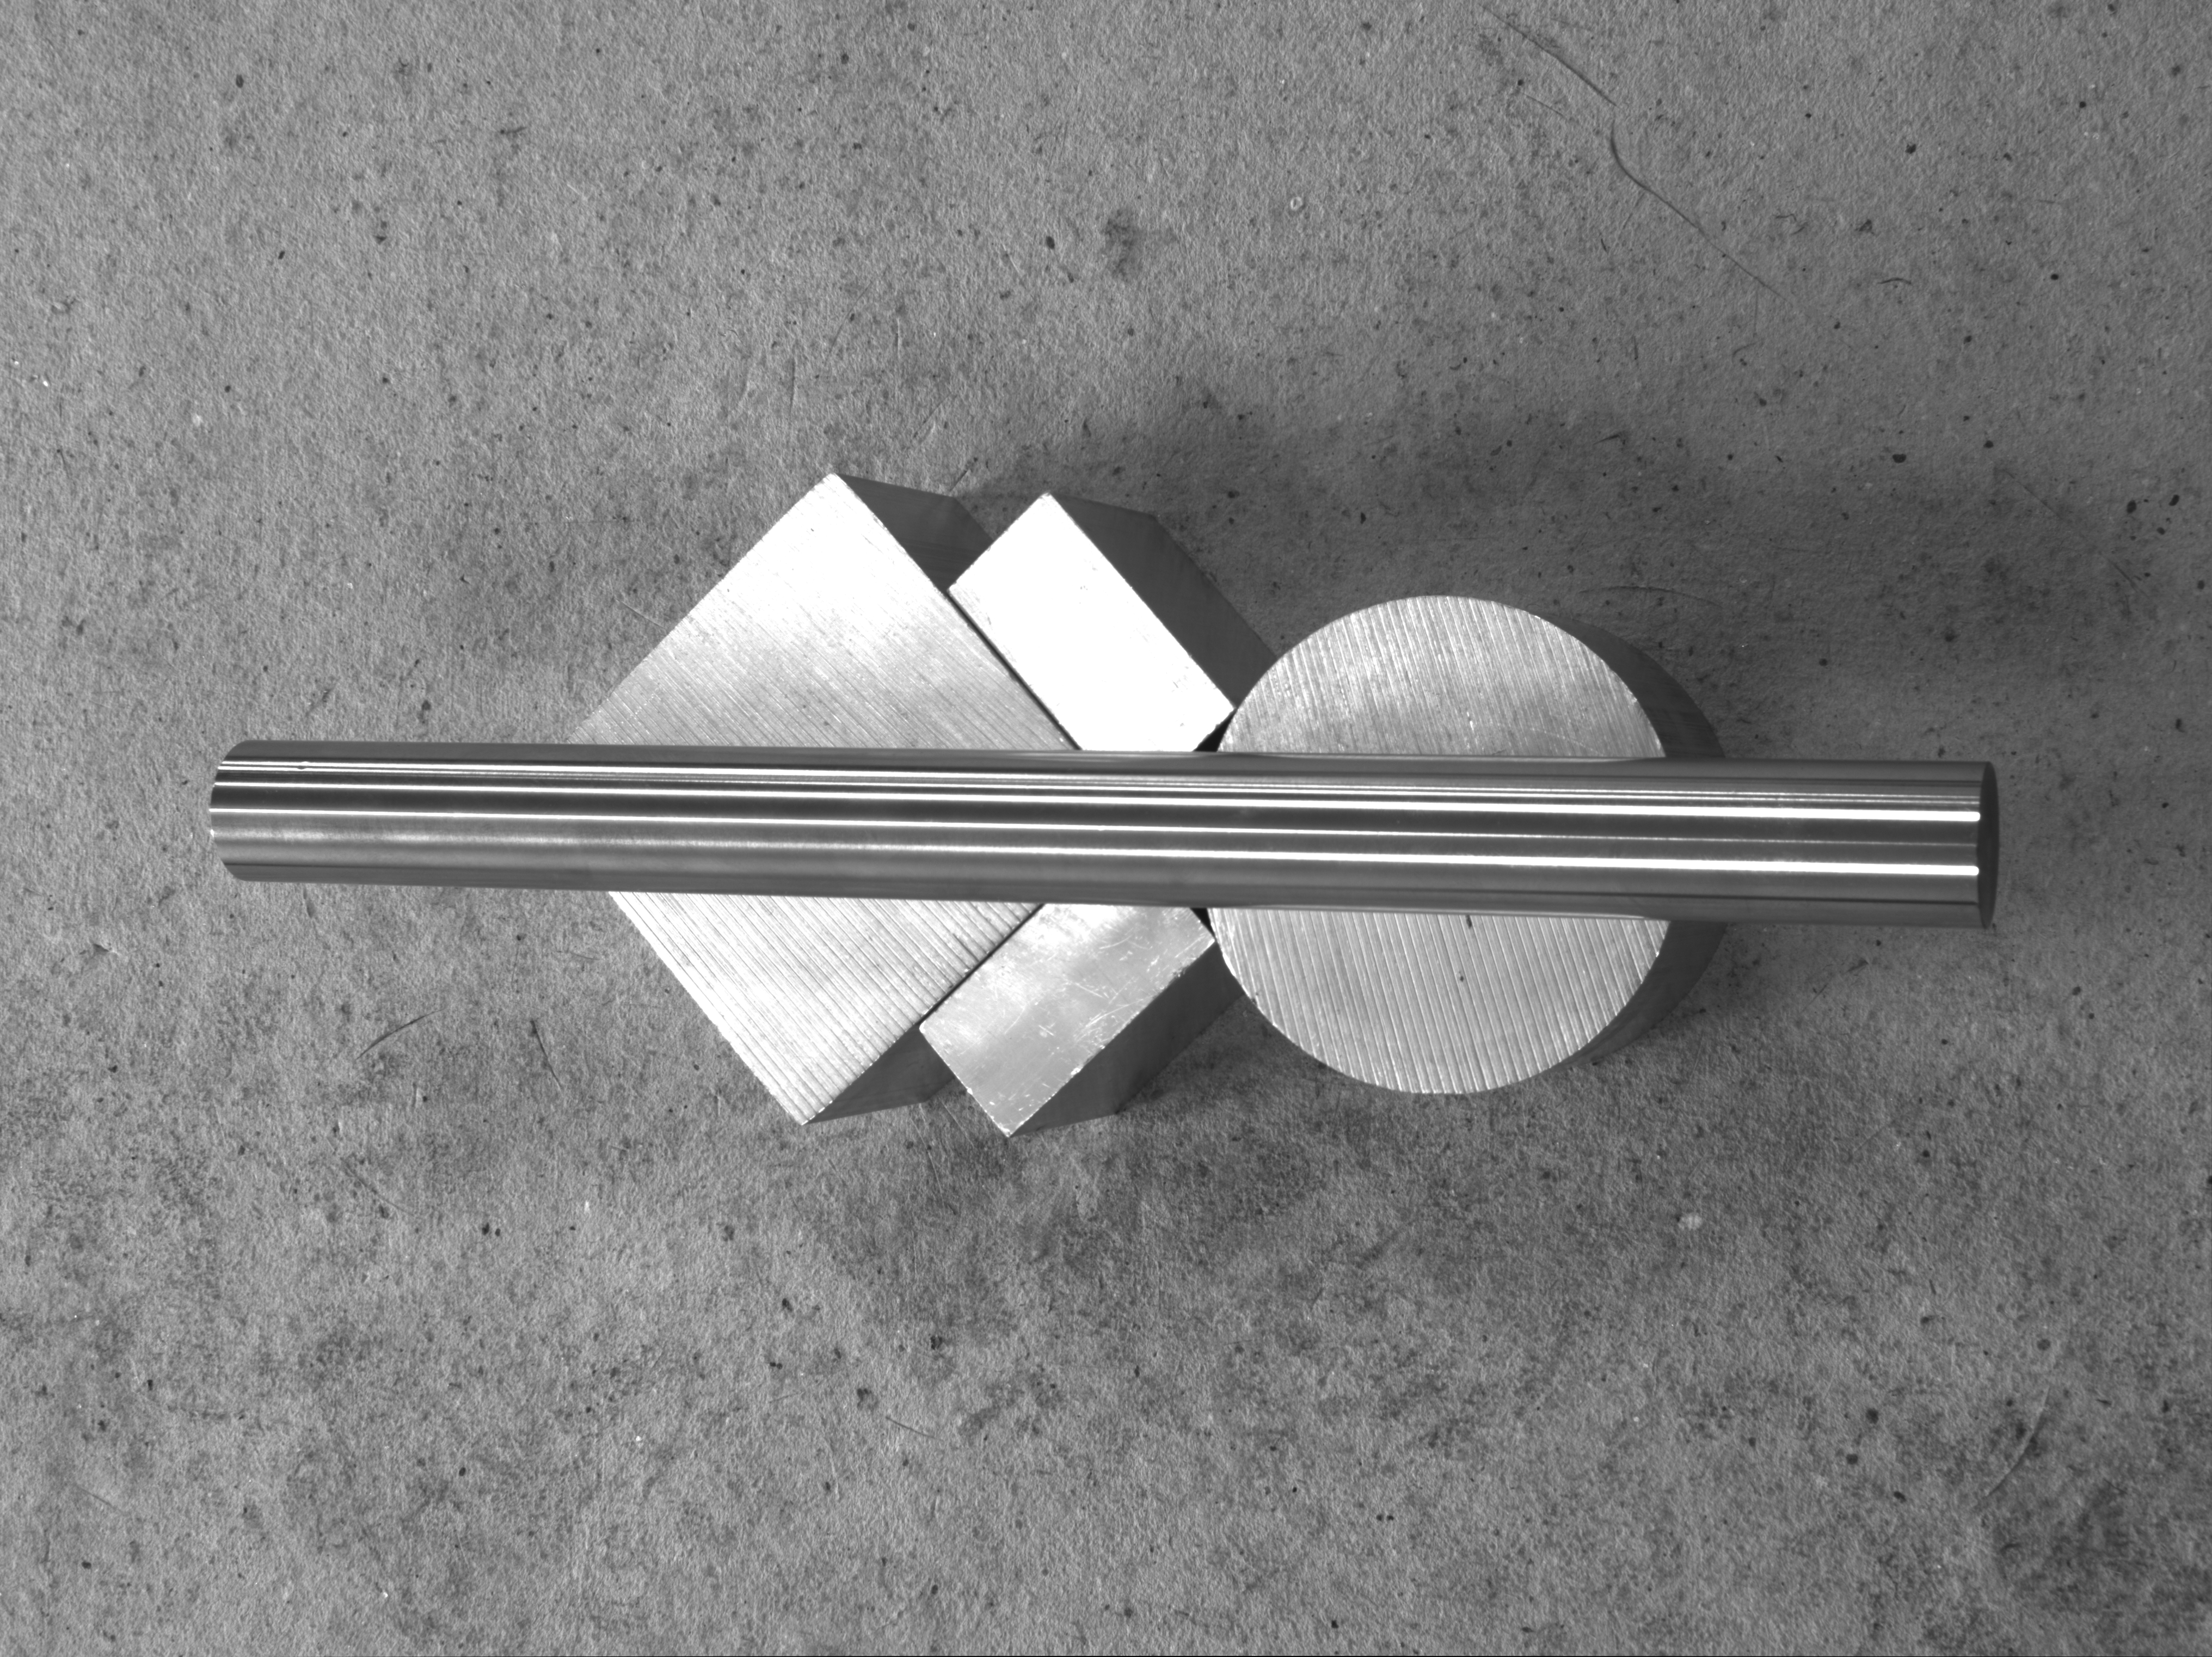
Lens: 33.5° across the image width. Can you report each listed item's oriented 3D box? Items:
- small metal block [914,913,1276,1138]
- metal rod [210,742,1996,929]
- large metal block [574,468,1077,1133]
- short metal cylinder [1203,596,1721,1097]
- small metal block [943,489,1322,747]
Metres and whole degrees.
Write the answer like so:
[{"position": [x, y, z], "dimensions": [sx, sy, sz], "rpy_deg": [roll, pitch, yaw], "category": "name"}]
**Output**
[{"position": [0.001, 0.026, 0.634], "dimensions": [0.050, 0.050, 0.025], "rpy_deg": [-44, 76, 15], "category": "small metal block"}, {"position": [-0.010, 0.000, 0.595], "dimensions": [0.299, 0.025, 0.025], "rpy_deg": [1, 90, 20], "category": "metal rod"}, {"position": [-0.041, -0.005, 0.647], "dimensions": [0.080, 0.050, 0.080], "rpy_deg": [-44, 76, 15], "category": "large metal block"}, {"position": [0.060, 0.003, 0.611], "dimensions": [0.080, 0.050, 0.080], "rpy_deg": [0, 90, 20], "category": "short metal cylinder"}, {"position": [0.006, -0.030, 0.632], "dimensions": [0.025, 0.050, 0.050], "rpy_deg": [-44, 76, 15], "category": "small metal block"}]
